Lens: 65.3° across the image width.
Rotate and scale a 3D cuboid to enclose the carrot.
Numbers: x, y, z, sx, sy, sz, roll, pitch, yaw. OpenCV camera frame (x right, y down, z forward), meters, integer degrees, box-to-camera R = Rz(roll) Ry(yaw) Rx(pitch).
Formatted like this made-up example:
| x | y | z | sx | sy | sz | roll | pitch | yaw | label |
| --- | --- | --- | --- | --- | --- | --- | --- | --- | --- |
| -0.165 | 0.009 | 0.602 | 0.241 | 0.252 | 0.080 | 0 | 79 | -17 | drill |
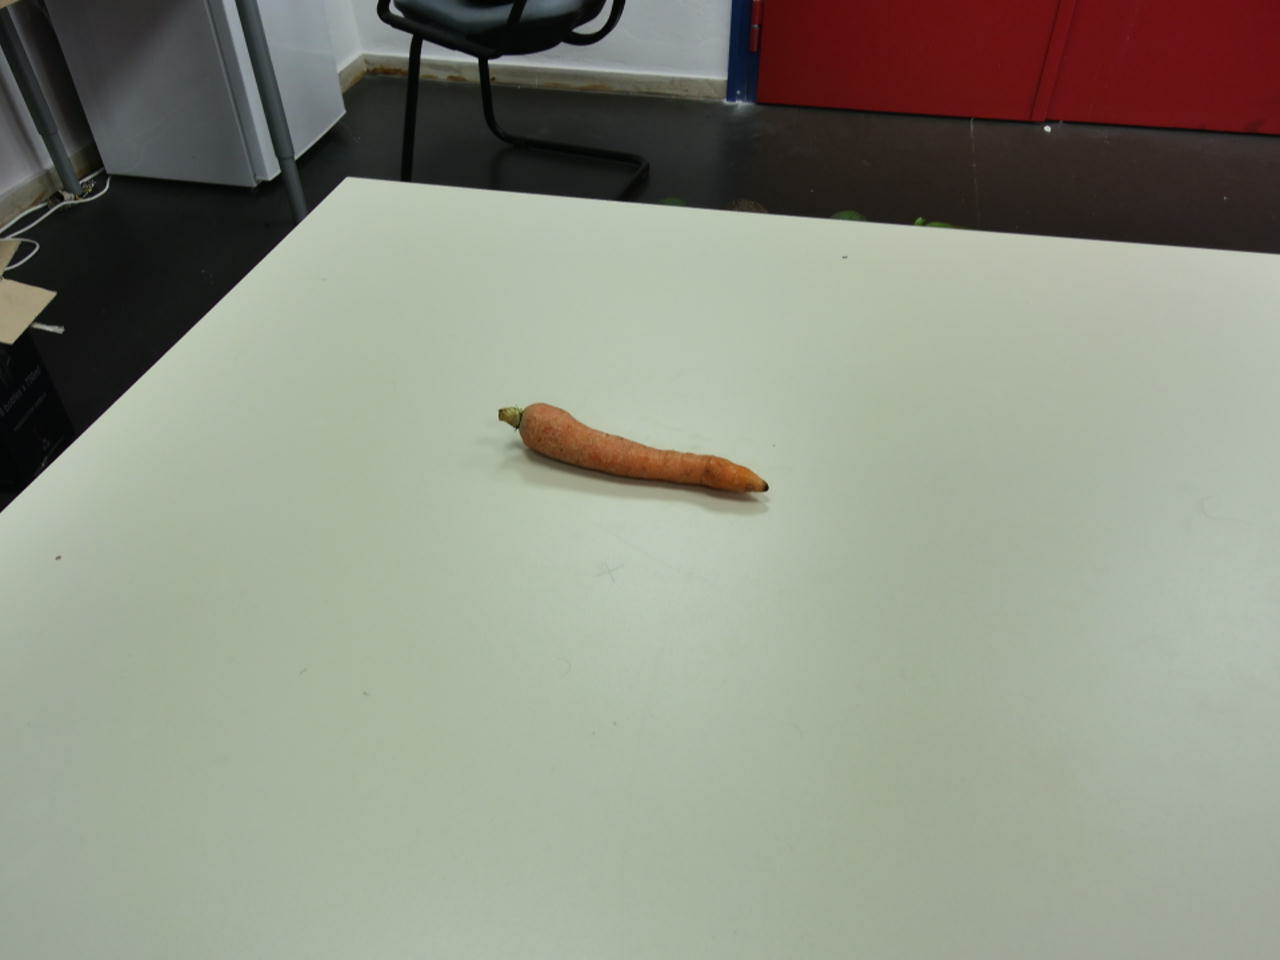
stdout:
| x | y | z | sx | sy | sz | roll | pitch | yaw | label |
| --- | --- | --- | --- | --- | --- | --- | --- | --- | --- |
| -0.005 | -0.017 | 0.595 | 0.173 | 0.032 | 0.030 | 14 | 41 | 17 | carrot |
